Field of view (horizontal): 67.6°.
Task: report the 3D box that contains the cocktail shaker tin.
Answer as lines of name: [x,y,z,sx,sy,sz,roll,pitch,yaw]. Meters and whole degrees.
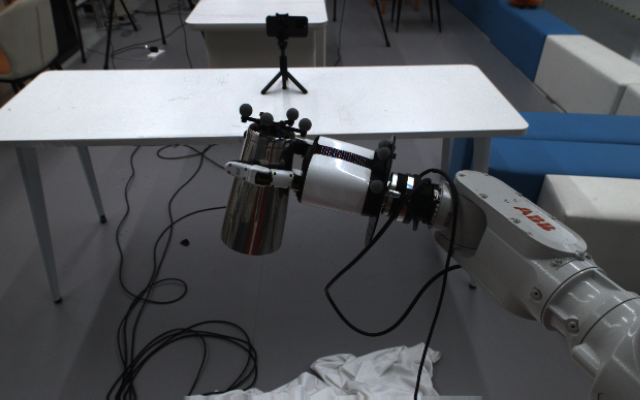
cocktail shaker tin: [-0.080,-0.021,0.685,0.093,0.170,0.093,12,25,-6]
